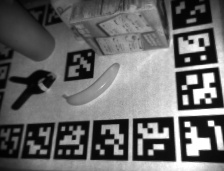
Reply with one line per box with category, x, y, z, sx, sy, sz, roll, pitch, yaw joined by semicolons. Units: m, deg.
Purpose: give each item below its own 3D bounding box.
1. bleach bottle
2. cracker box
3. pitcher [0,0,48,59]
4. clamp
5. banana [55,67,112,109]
bleach bottle;-0.132;-0.208;0.606;0.101;0.254;0.068;0;69;23
cracker box;0.009;-0.127;0.549;0.211;0.166;0.072;1;68;25
pitcher;-0.317;-0.177;0.646;0.188;0.245;0.132;-17;64;13
clamp;-0.279;-0.010;0.710;0.164;0.037;0.121;-15;64;14
banana;-0.078;0.016;0.627;0.197;0.039;0.073;-32;61;8
